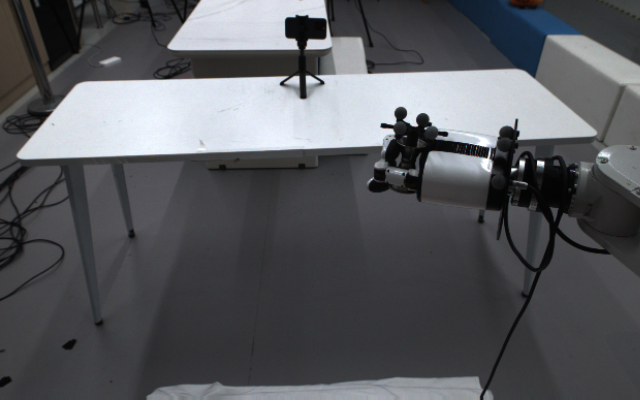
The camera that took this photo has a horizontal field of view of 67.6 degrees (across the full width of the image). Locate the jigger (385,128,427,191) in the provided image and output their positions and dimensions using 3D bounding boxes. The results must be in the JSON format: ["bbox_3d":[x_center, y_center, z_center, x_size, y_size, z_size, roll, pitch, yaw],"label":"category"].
[{"bbox_3d":[0.122,-0.048,0.670,0.043,0.071,0.043,6,26,-3],"label":"jigger"}]
